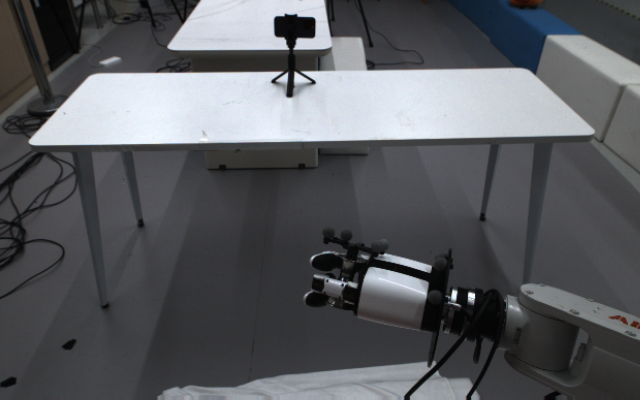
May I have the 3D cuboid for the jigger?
[{"bbox_3d":[0.039,0.113,0.672,0.043,0.071,0.043,14,1,0],"label":"jigger"}]
